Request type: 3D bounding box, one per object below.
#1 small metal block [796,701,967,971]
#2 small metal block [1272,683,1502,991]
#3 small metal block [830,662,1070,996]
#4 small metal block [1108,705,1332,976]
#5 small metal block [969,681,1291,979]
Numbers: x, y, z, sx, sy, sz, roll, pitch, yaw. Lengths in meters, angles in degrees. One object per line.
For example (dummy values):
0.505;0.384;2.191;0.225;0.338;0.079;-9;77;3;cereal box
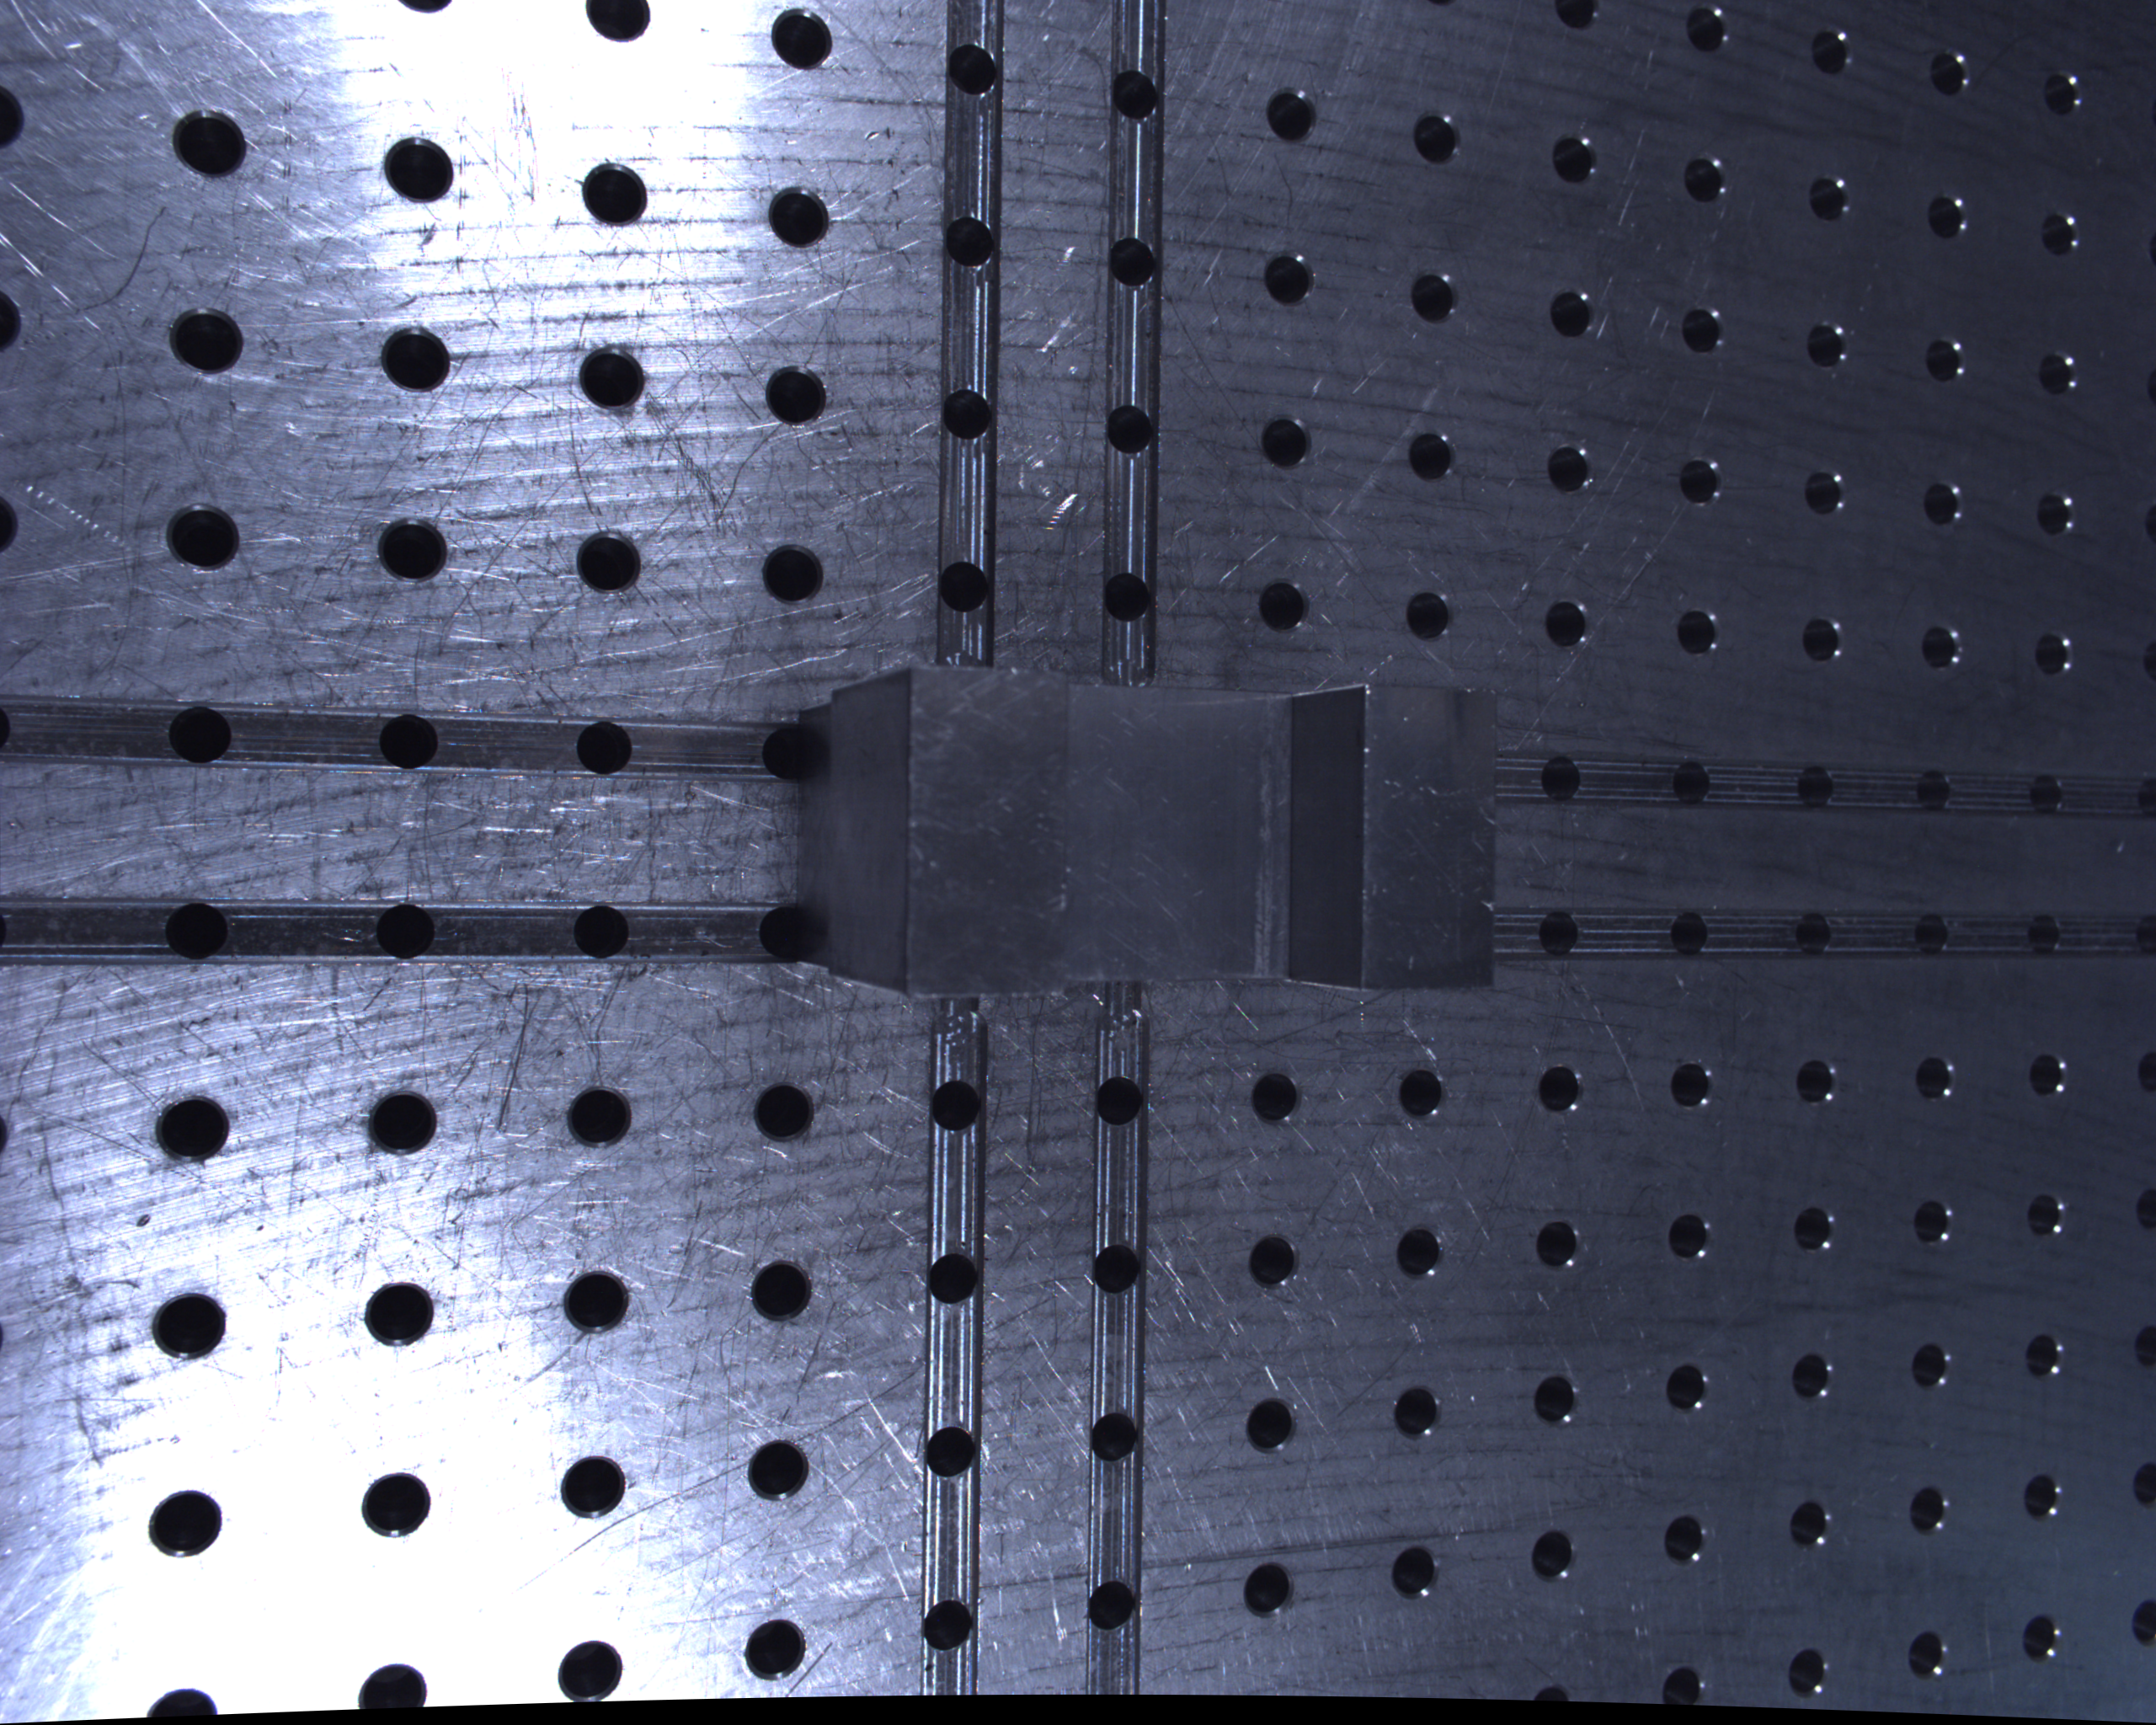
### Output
-0.034;-0.005;0.387;0.025;0.050;0.050;1;90;-20;small metal block
0.050;-0.004;0.364;0.025;0.050;0.050;1;90;-20;small metal block
-0.022;-0.005;0.338;0.025;0.050;0.050;1;90;-20;small metal block
0.027;-0.004;0.410;0.025;0.050;0.050;-1;91;-20;small metal block
0.009;-0.005;0.364;0.050;0.025;0.050;1;90;-21;small metal block
